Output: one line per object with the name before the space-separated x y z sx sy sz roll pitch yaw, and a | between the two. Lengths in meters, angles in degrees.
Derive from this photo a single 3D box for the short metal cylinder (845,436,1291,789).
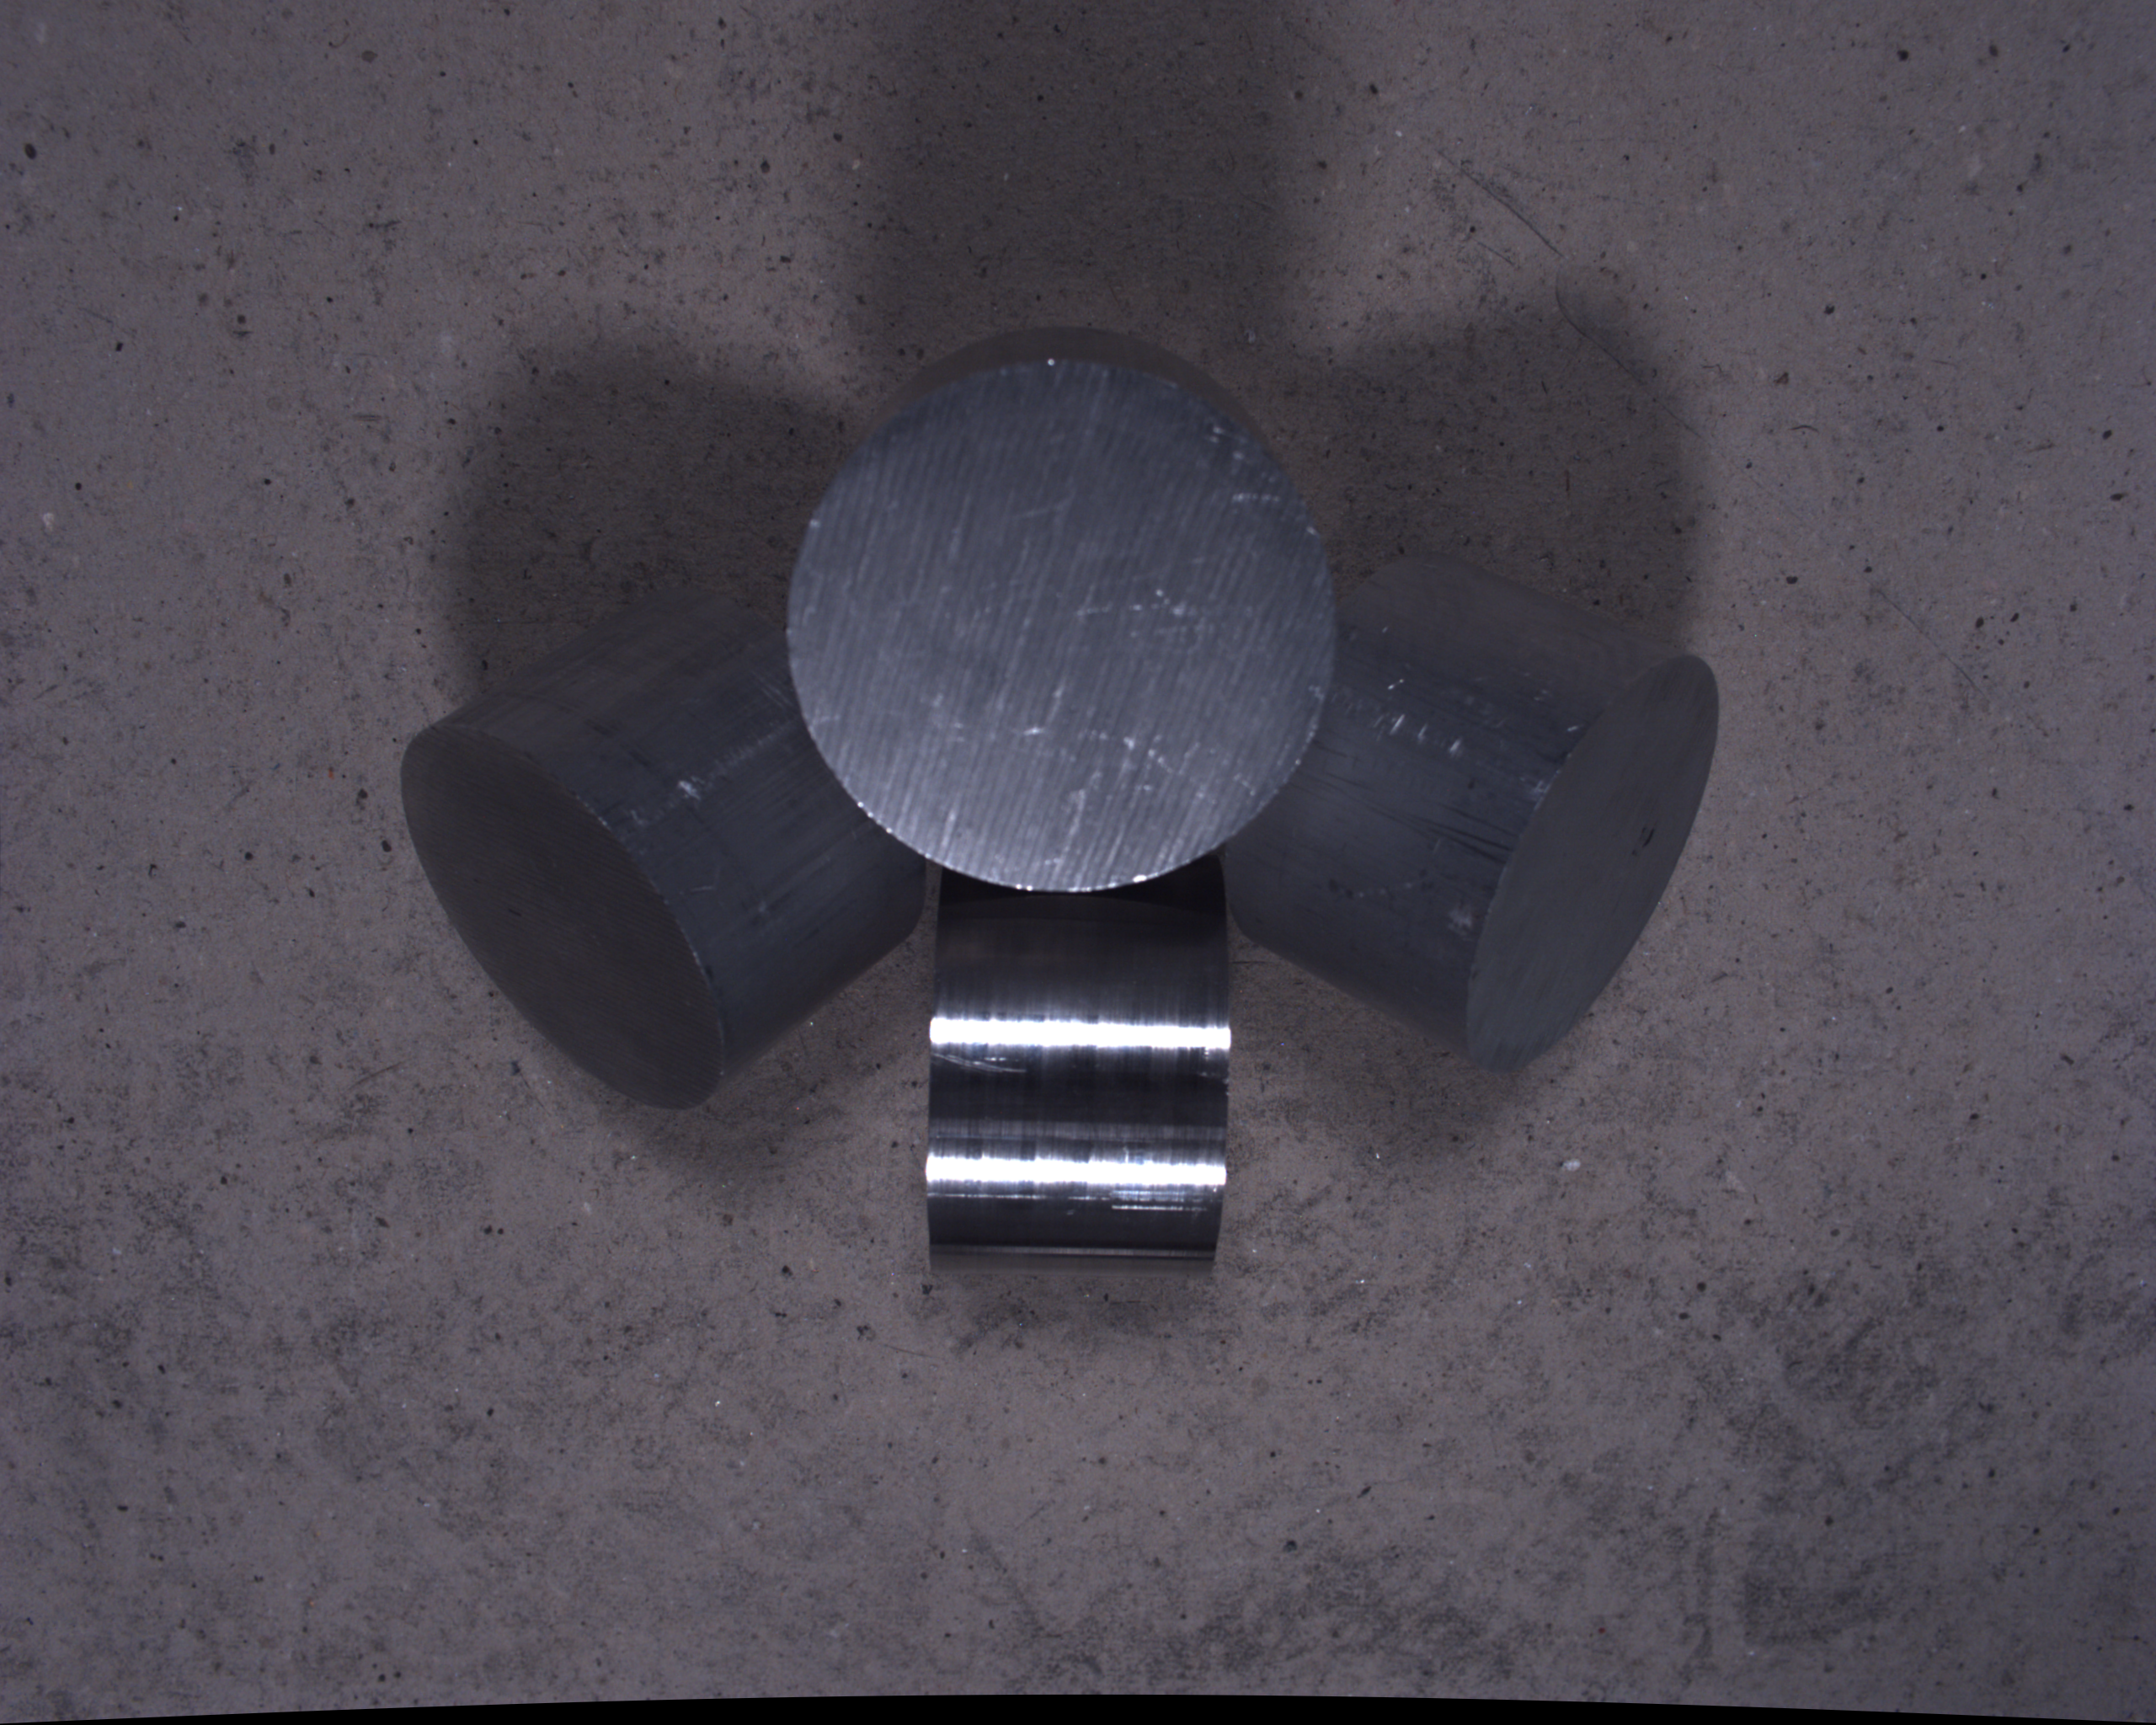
short metal cylinder | 0.000 -0.042 0.382 0.081 0.050 0.079 0 110 -1

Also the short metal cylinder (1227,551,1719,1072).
short metal cylinder | 0.071 -0.009 0.373 0.050 0.081 0.079 28 113 31

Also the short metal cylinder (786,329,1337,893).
short metal cylinder | -0.002 -0.041 0.328 0.081 0.050 0.079 0 110 -1

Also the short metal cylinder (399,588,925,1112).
short metal cylinder | -0.074 -0.002 0.374 0.080 0.050 0.079 28 139 28

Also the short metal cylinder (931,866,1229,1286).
short metal cylinder | 0.000 0.039 0.395 0.050 0.080 0.079 2 110 -1
